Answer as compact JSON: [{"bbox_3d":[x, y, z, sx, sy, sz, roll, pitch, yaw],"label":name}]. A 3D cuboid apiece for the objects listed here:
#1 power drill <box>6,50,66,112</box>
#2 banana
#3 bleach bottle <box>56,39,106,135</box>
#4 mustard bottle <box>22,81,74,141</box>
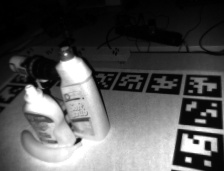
[{"bbox_3d":[-0.182,-0.004,0.575,0.182,0.188,0.057,15,47,29],"label":"power drill"},{"bbox_3d":[-0.176,0.143,0.568,0.195,0.039,0.074,7,45,27],"label":"banana"},{"bbox_3d":[-0.085,0.010,0.524,0.101,0.252,0.068,6,38,24],"label":"bleach bottle"},{"bbox_3d":[-0.165,0.061,0.526,0.095,0.193,0.058,5,44,22],"label":"mustard bottle"}]
